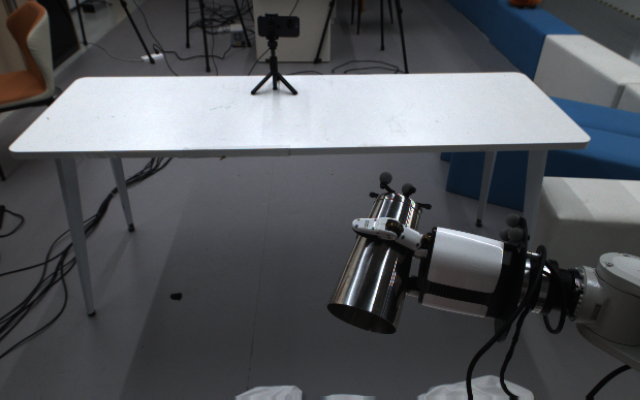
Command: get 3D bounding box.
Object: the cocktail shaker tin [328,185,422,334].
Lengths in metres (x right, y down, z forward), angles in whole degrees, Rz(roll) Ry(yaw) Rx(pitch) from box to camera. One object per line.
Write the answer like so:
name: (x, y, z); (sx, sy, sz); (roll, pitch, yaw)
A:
cocktail shaker tin: (0.080, 0.077, 0.636); (0.093, 0.093, 0.170); (15, 62, 17)
